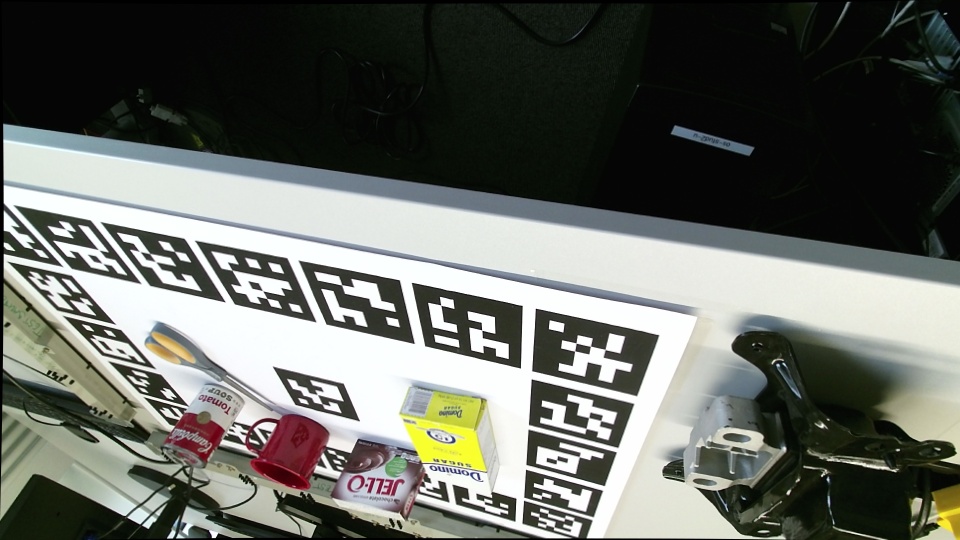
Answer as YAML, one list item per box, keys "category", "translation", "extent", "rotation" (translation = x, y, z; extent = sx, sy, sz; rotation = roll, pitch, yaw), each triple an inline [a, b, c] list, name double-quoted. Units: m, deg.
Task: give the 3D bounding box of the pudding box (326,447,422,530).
- category: "pudding box"
  translation: [-0.150, 0.305, 0.754]
  extent: [0.114, 0.090, 0.038]
  rotation: [4, 126, 19]

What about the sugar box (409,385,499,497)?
- category: "sugar box"
  translation: [-0.028, 0.215, 0.661]
  extent: [0.093, 0.045, 0.176]
  rotation: [7, 133, 13]

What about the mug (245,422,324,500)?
- category: "mug"
  translation: [-0.292, 0.274, 0.790]
  extent: [0.093, 0.081, 0.117]
  rotation: [-22, 122, 33]

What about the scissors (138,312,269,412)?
- category: "scissors"
  translation: [-0.374, 0.138, 0.737]
  extent: [0.088, 0.016, 0.203]
  rotation: [-32, 114, 30]

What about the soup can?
- category: "soup can"
  translation: [-0.404, 0.226, 0.785]
  extent: [0.068, 0.101, 0.068]
  rotation: [11, 136, 11]
